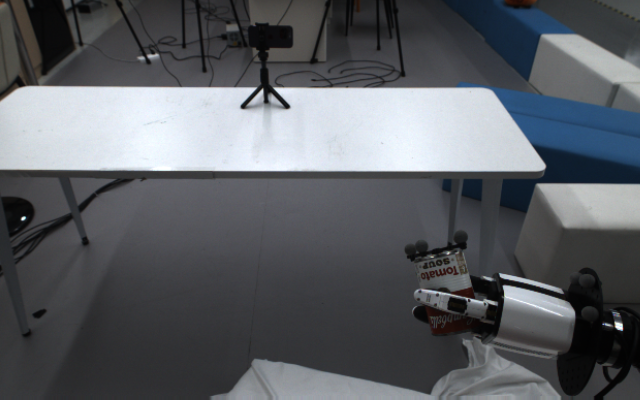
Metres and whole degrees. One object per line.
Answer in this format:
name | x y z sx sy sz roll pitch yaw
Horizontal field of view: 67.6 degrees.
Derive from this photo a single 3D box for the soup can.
soup can | 0.172 0.119 0.642 0.067 0.067 0.101 -11 80 -19
